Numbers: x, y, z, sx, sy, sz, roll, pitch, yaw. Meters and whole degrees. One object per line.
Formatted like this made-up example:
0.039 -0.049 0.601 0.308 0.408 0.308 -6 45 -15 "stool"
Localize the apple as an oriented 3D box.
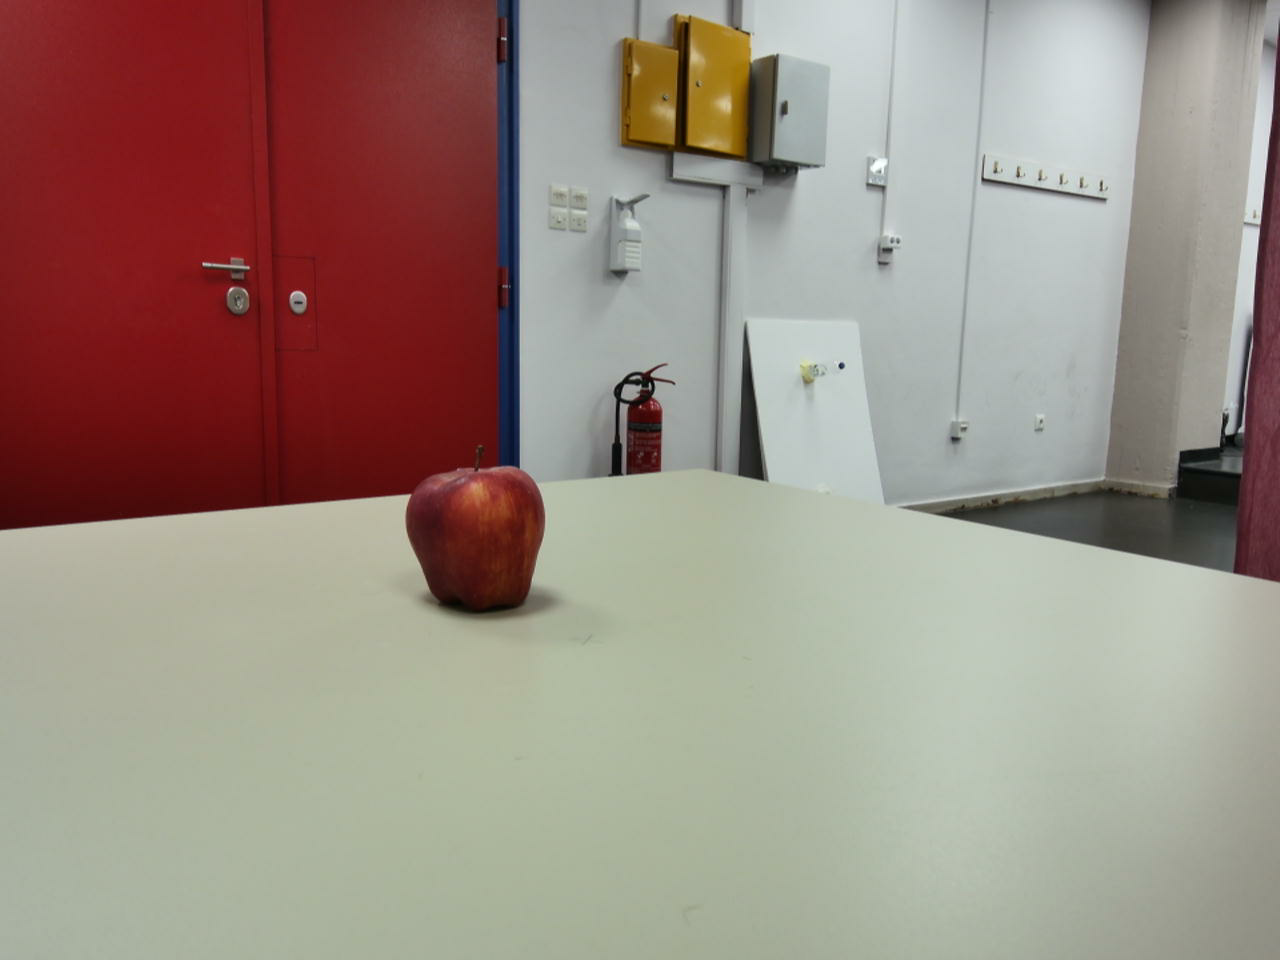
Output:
-0.094 0.026 0.572 0.083 0.090 0.083 0 7 0 "apple"
